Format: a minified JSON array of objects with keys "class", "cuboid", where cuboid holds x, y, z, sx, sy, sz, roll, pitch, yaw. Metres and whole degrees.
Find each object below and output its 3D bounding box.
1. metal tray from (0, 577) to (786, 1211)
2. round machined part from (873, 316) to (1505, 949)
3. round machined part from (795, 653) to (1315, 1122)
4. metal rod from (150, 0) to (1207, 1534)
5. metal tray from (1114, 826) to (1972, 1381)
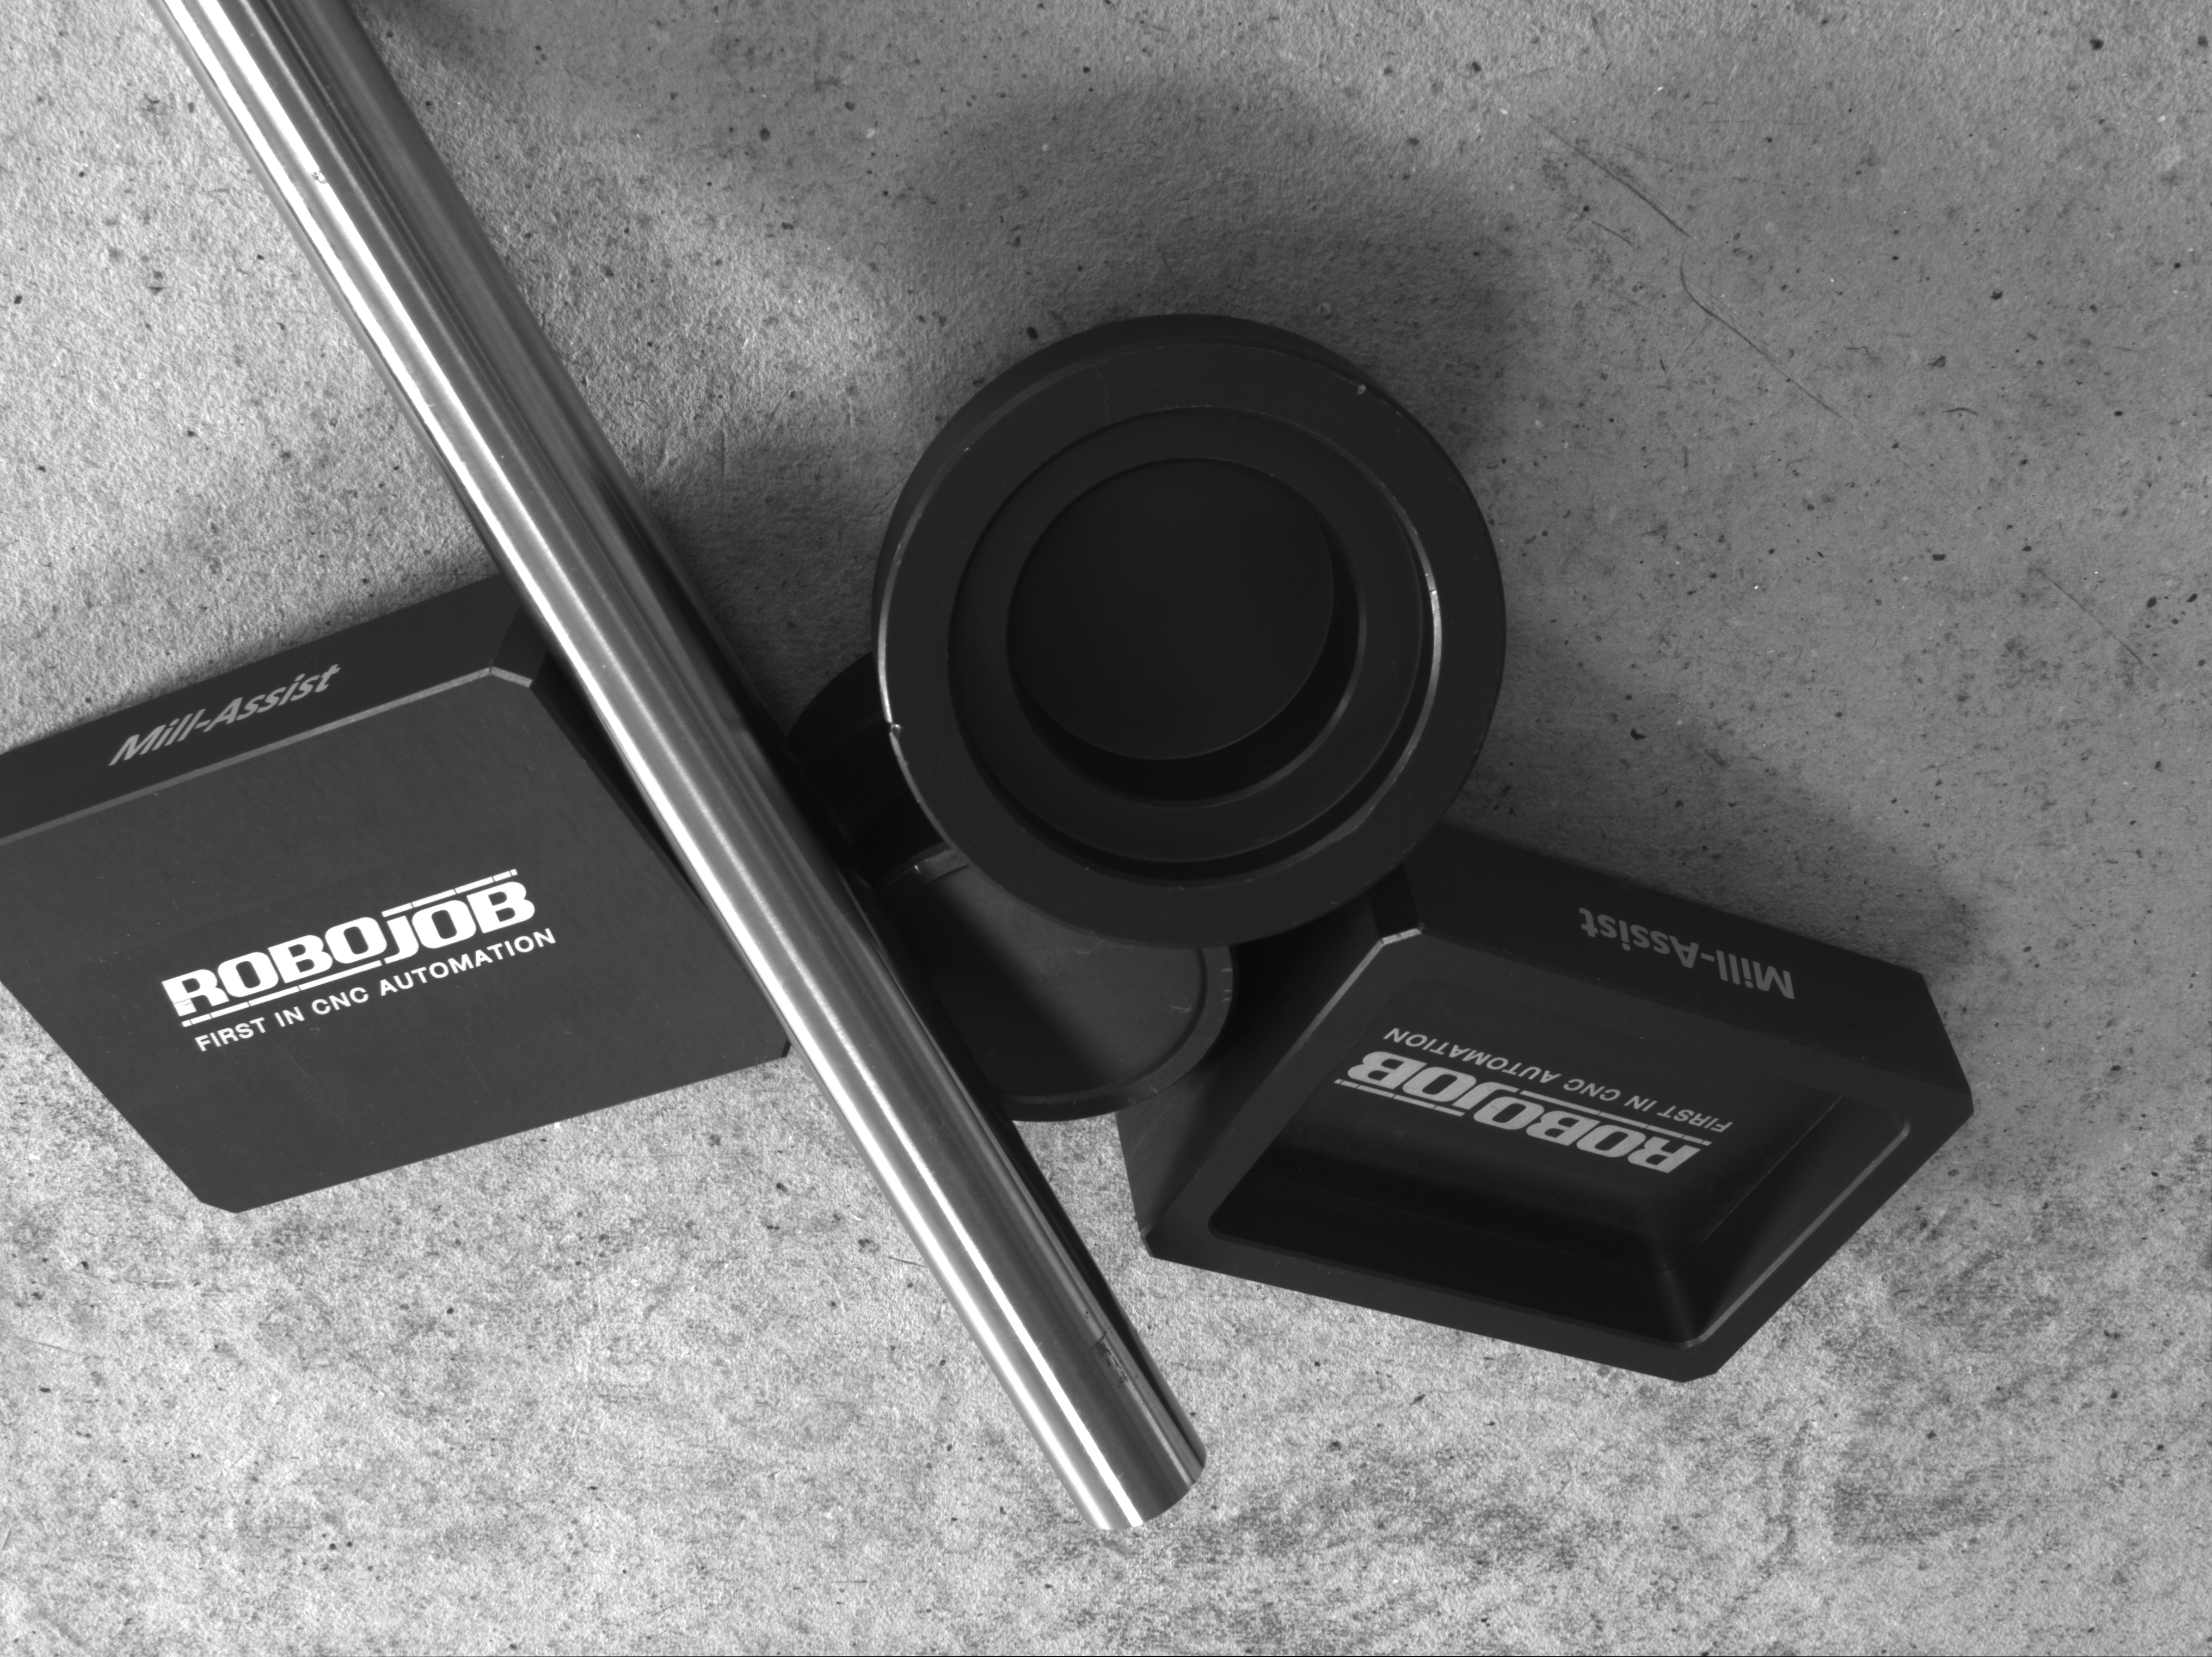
[{"class":"metal tray","cuboid":[-0.125,0.013,0.633,0.130,0.030,0.090,-16,126,24]},{"class":"round machined part","cuboid":[0.011,-0.034,0.587,0.098,0.042,0.098,-2,108,-6]},{"class":"round machined part","cuboid":[-0.012,0.013,0.640,0.098,0.042,0.098,0,130,0]},{"class":"metal rod","cuboid":[-0.061,-0.005,0.592,0.025,0.025,0.300,-22,114,17]},{"class":"metal tray","cuboid":[0.079,0.051,0.665,0.130,0.030,0.090,17,129,-27]}]
